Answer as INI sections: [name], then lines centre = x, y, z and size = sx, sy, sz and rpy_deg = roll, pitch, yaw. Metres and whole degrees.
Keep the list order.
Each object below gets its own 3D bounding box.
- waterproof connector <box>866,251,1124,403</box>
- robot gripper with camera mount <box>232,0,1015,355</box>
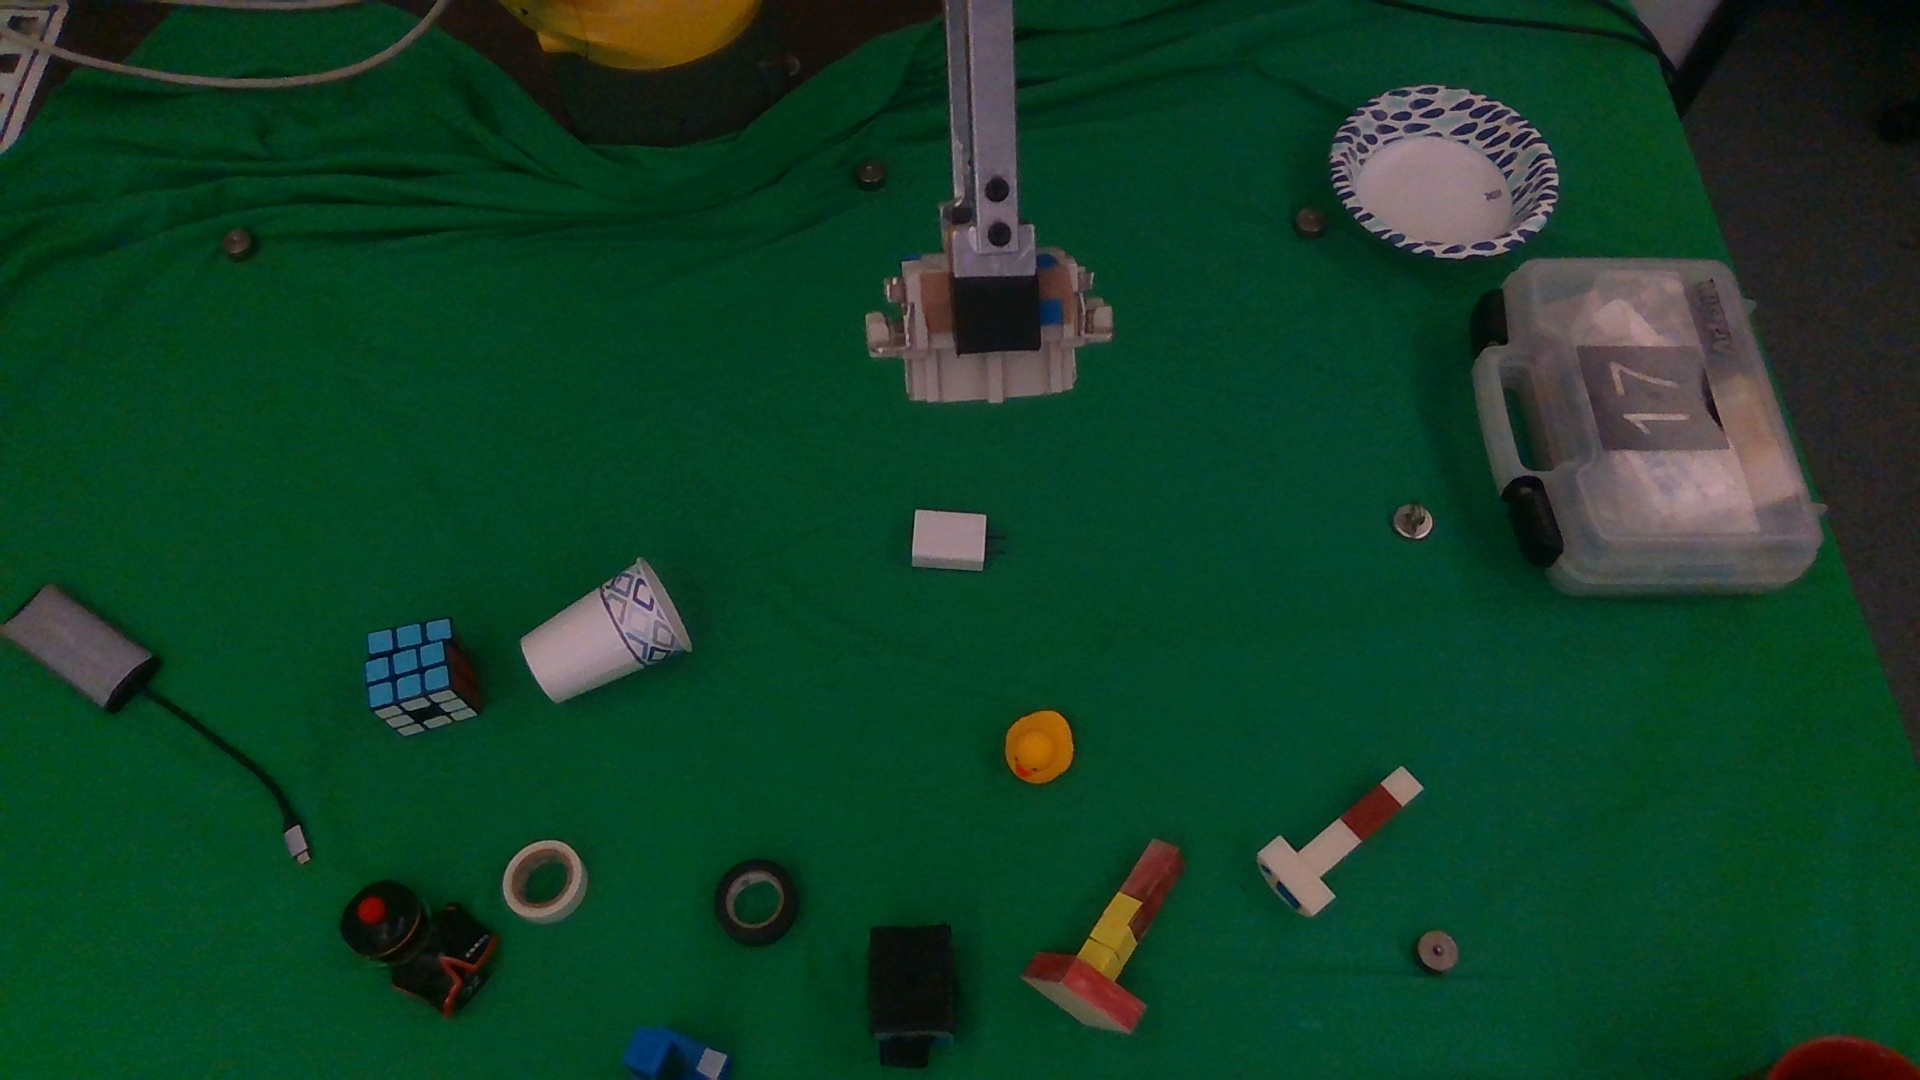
[waterproof connector]
centre = 0.008, -0.056, 0.364
size = 0.065, 0.035, 0.037
rpy_deg = -2, 106, -7
[robot gripper with camera mount]
centre = -0.077, -0.120, 0.330
size = 0.193, 0.158, 0.119
rpy_deg = -5, 21, -5
